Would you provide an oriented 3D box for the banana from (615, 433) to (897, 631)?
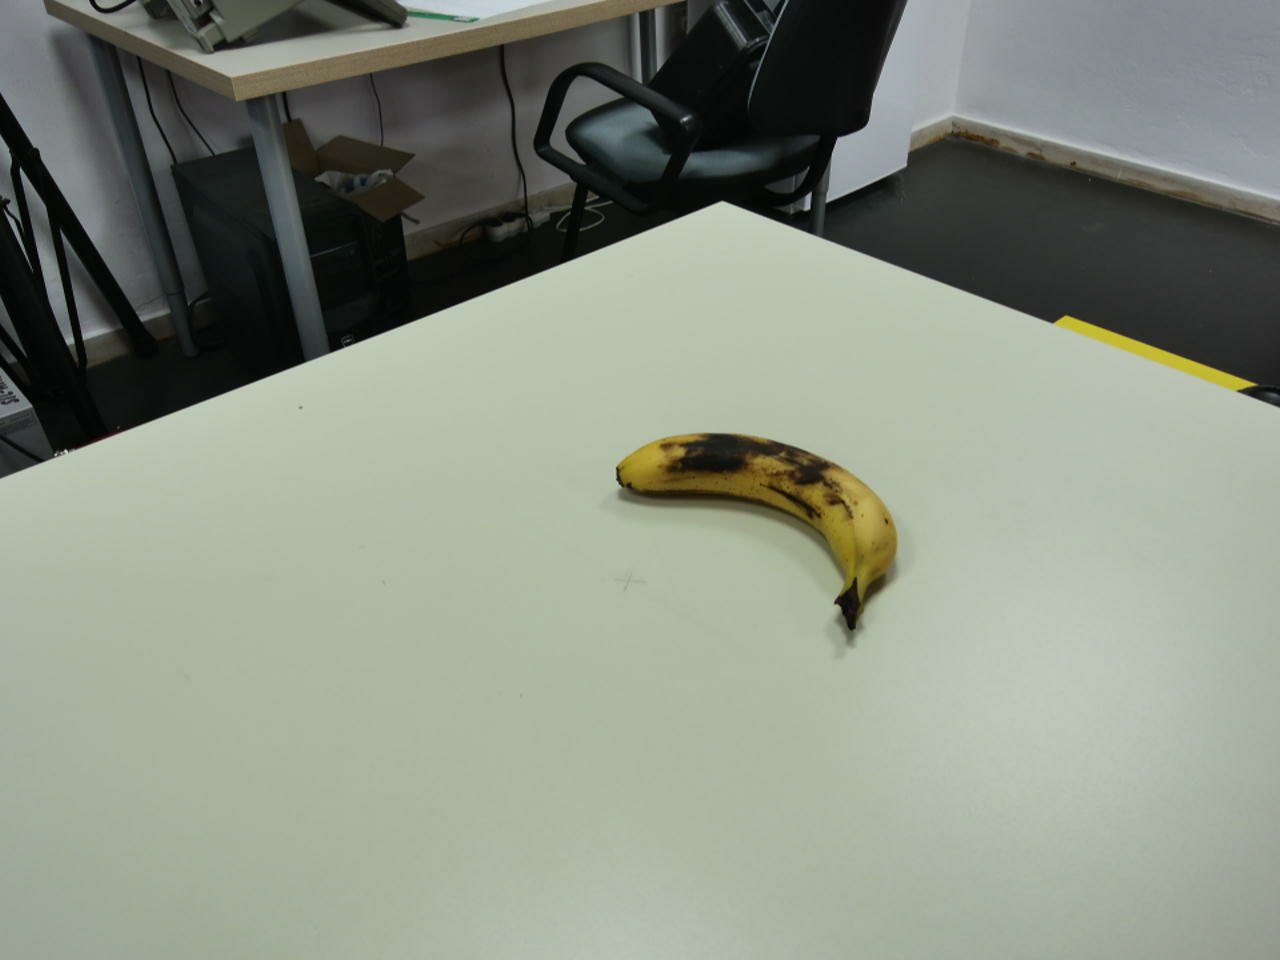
[{"bbox_3d":[0.079,0.013,0.597,0.094,0.039,0.187,-29,45,-33],"label":"banana"}]
